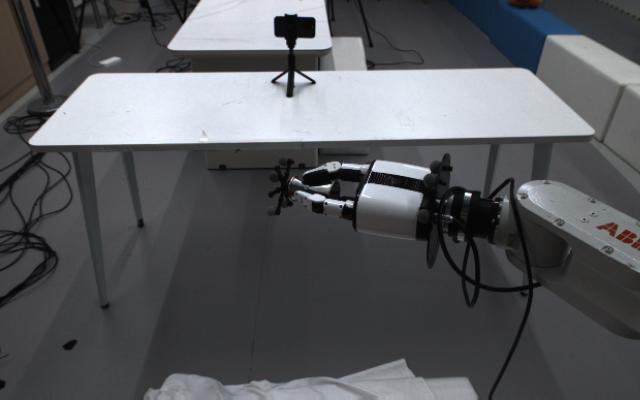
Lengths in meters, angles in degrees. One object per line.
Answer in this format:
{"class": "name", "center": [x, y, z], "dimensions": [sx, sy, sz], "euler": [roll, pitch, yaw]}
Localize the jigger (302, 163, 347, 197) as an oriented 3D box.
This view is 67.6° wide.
{"class": "jigger", "center": [-0.004, -0.016, 0.724], "dimensions": [0.071, 0.043, 0.043], "euler": [10, 35, 22]}
